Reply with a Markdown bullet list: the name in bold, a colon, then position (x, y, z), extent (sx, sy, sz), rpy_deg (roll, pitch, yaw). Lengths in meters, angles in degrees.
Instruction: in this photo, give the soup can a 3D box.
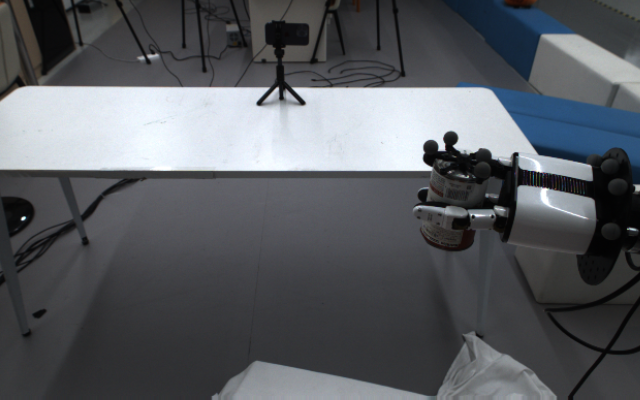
- **soup can**: position (0.165, 0.001, 0.592), extent (0.067, 0.101, 0.067), rpy_deg (2, 32, -1)
